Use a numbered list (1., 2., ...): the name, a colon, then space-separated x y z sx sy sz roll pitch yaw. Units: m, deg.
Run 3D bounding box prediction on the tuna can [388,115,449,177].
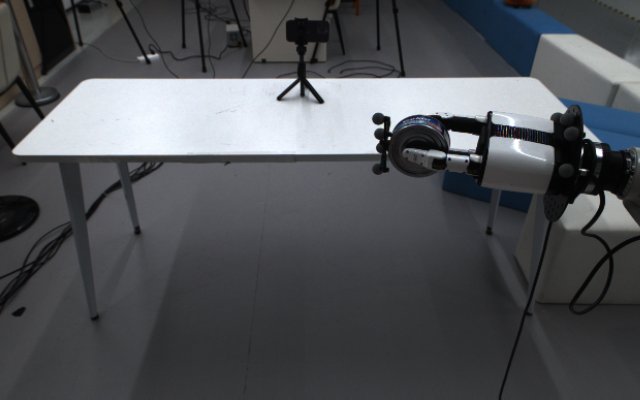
1. tuna can: 0.143 -0.075 0.689 0.085 0.085 0.034 9 32 10
